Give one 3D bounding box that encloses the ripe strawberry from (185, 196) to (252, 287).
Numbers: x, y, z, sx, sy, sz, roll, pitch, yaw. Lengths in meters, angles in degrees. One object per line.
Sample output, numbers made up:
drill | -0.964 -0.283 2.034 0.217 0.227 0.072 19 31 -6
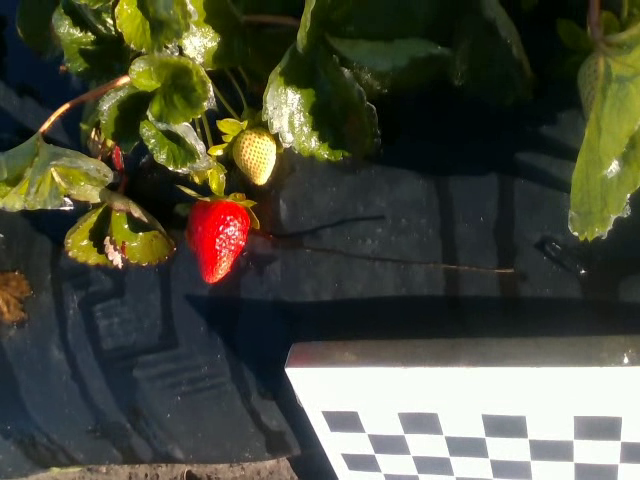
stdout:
ripe strawberry | -0.045 0.004 0.264 0.039 0.039 0.040 -5 -24 33
